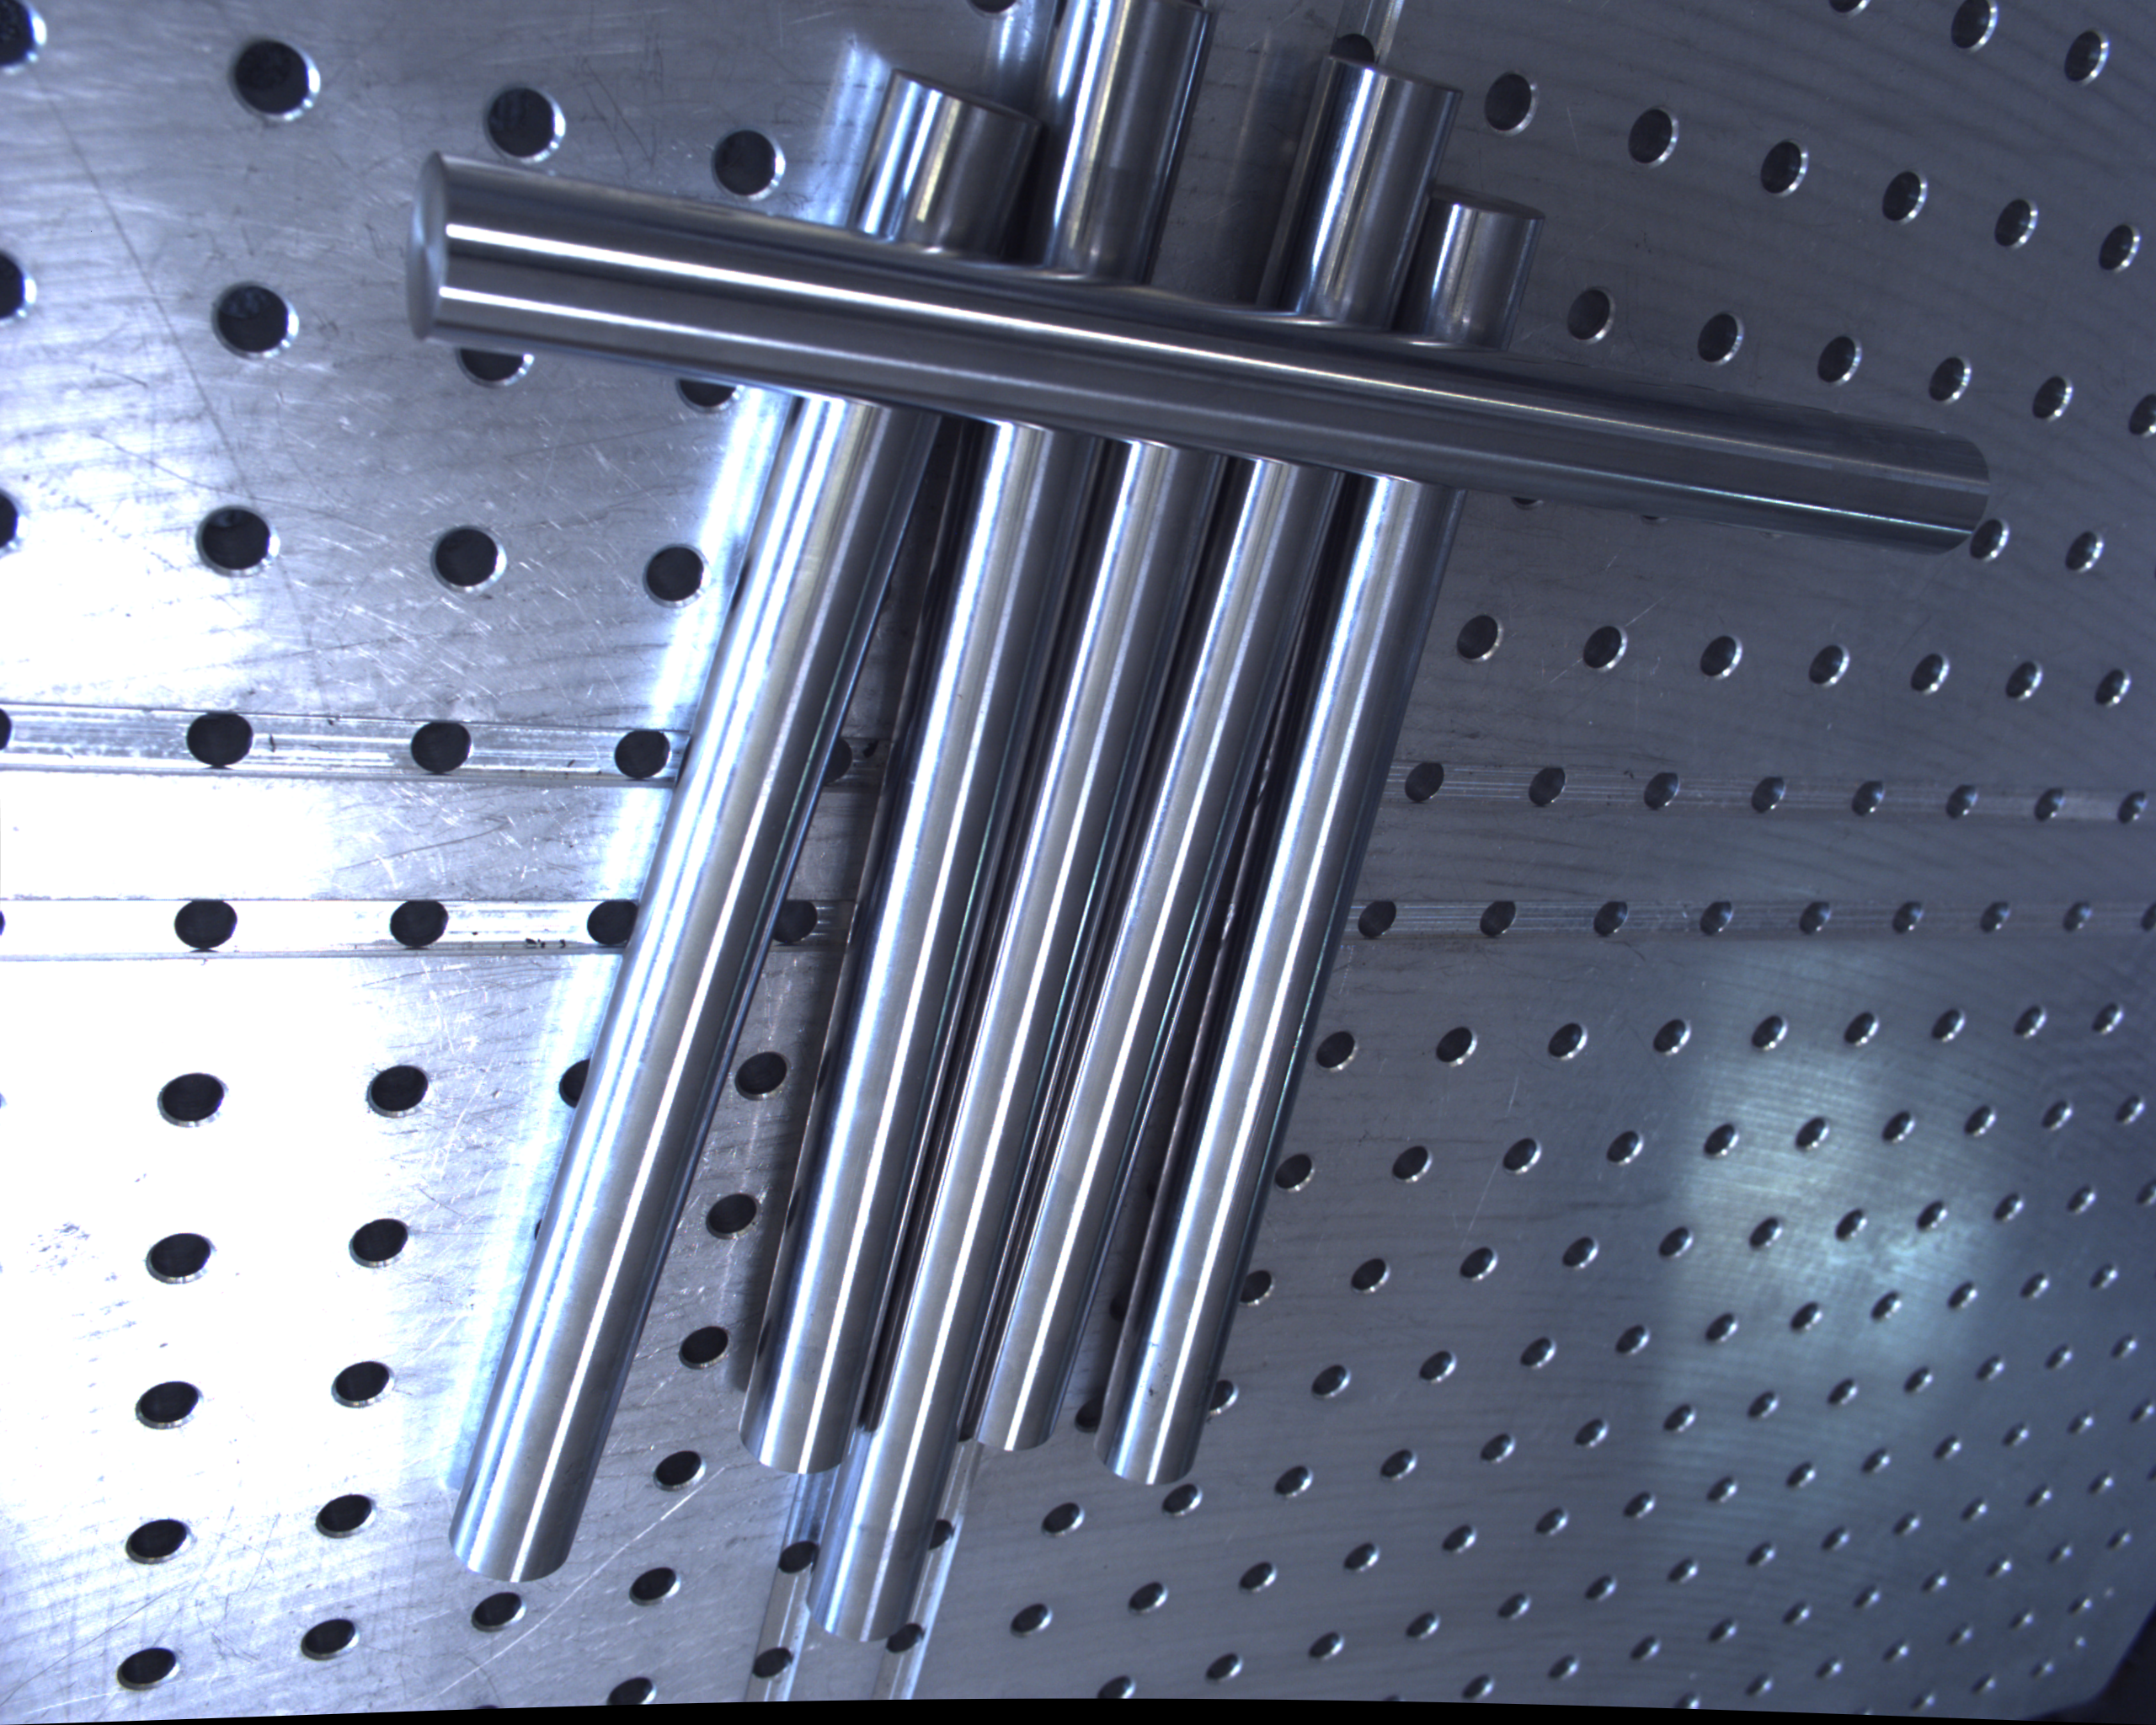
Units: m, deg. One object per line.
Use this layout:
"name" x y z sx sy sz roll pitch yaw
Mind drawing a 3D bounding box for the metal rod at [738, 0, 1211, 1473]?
"metal rod" -0.026 -0.007 0.392 0.025 0.025 0.298 1 118 -29

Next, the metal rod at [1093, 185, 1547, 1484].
"metal rod" 0.044 0.011 0.442 0.025 0.025 0.298 -2 120 -27

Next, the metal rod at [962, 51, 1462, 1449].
"metal rod" 0.018 -0.005 0.419 0.025 0.025 0.298 1 118 -29

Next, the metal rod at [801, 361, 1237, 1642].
"metal rod" -0.017 0.042 0.427 0.025 0.025 0.298 1 118 -29

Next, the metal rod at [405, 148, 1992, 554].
"metal rod" 0.044 -0.079 0.353 0.302 0.025 0.025 2 118 -29

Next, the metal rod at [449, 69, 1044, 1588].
"metal rod" -0.067 0.011 0.379 0.025 0.025 0.298 7 115 -32
